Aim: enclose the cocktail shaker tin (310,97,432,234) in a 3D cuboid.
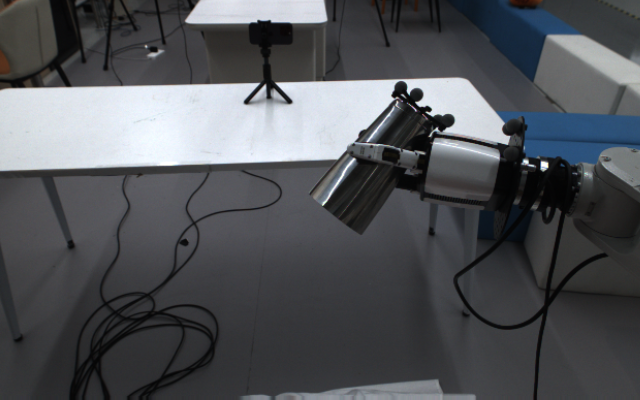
[{"bbox_3d":[0.074,-0.052,0.650,0.170,0.093,0.093,-50,46,4],"label":"cocktail shaker tin"}]
